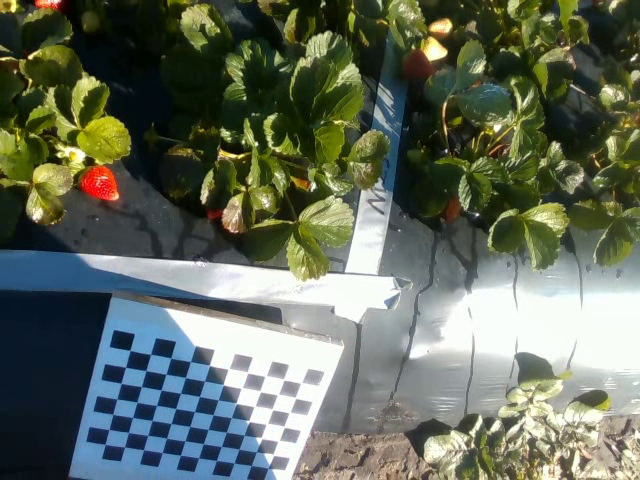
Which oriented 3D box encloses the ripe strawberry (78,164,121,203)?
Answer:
[{"bbox_3d":[-0.263,-0.065,0.725,0.045,0.059,0.042,-43,5,9],"label":"ripe strawberry"}]
